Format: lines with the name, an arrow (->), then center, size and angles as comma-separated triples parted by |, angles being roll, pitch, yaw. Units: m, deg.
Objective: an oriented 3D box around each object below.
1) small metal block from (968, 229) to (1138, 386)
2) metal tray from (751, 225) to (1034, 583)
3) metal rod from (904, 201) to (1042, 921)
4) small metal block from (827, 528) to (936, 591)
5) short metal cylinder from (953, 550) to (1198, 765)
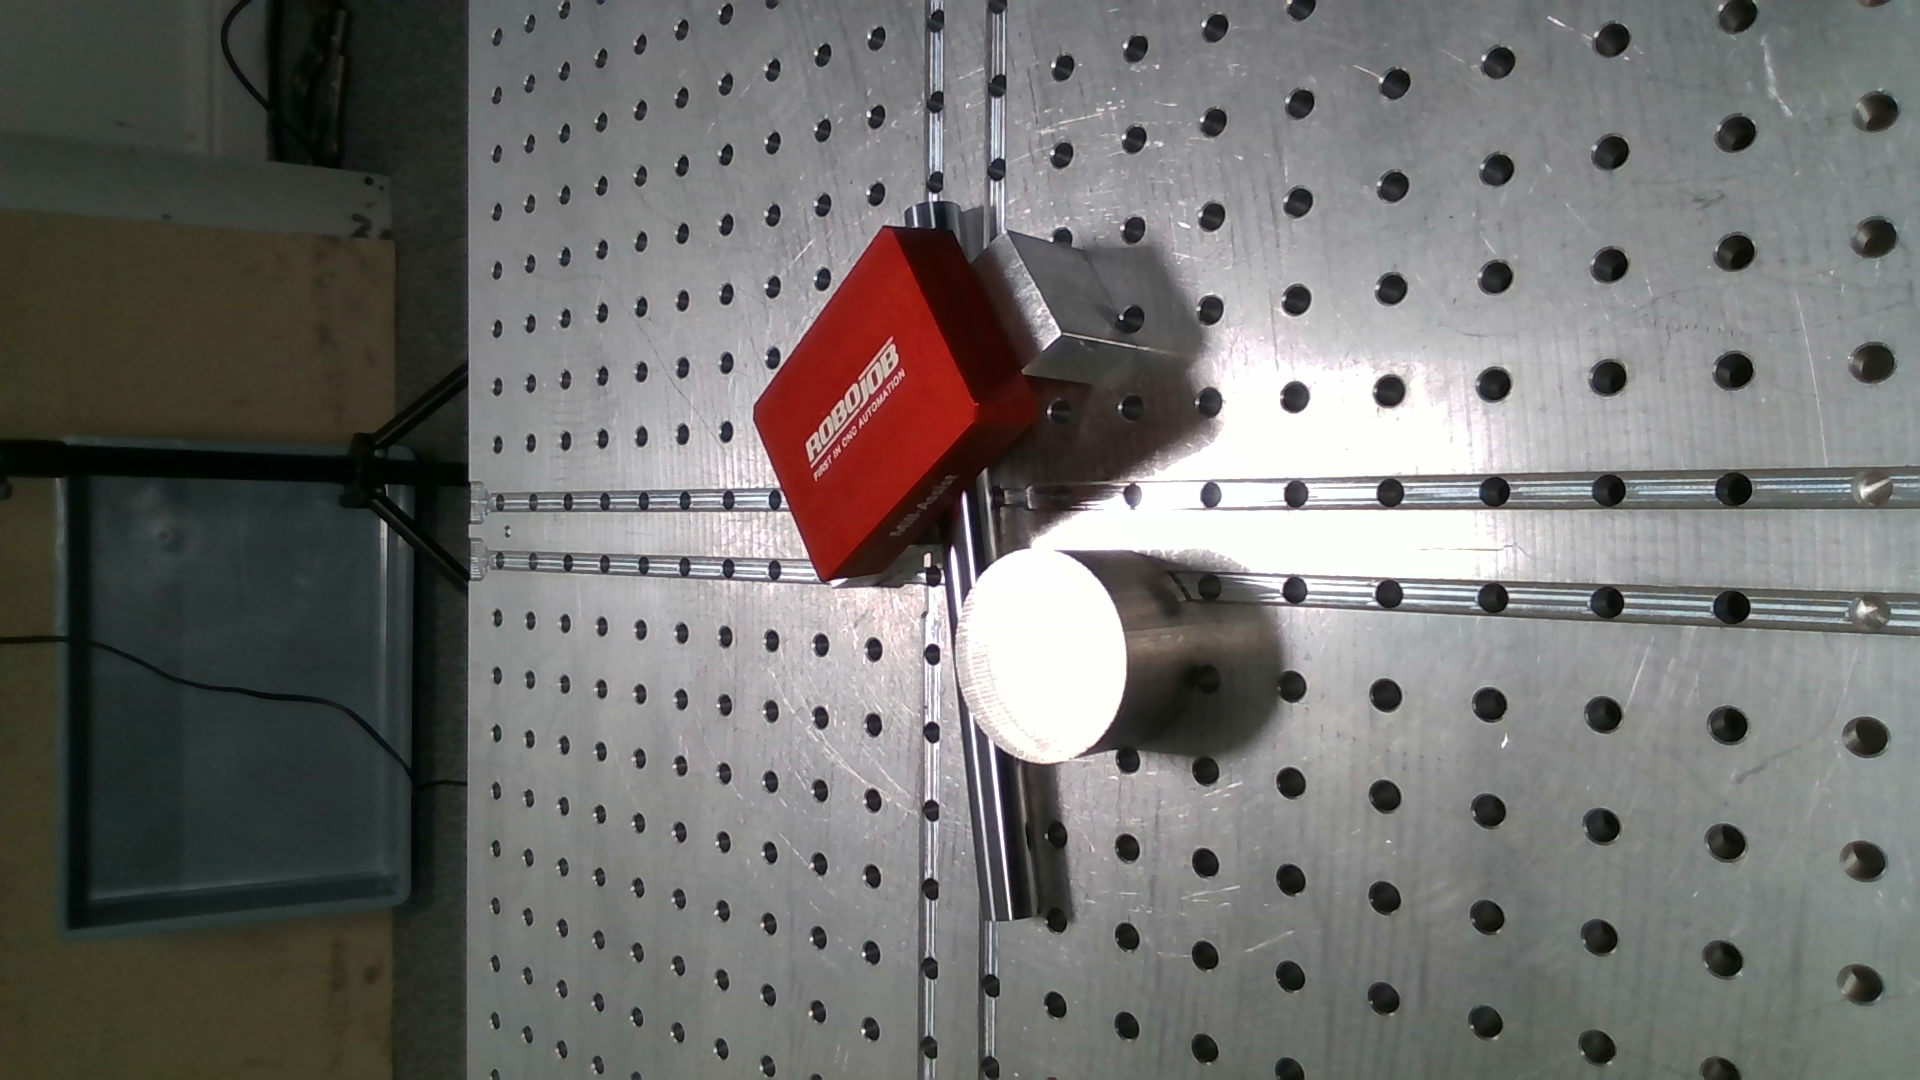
small metal block -> 0.035, -0.090, 0.537 | 0.025, 0.050, 0.050 | -39, 66, 33
metal tray -> -0.032, -0.052, 0.558 | 0.130, 0.030, 0.090 | -44, 63, 44
metal rod -> 0.005, 0.006, 0.581 | 0.025, 0.025, 0.300 | -10, 84, 40
small metal block -> -0.041, -0.010, 0.618 | 0.050, 0.025, 0.050 | -30, 72, 36
short metal cylinder -> 0.044, 0.044, 0.531 | 0.080, 0.050, 0.080 | 0, 91, 40
